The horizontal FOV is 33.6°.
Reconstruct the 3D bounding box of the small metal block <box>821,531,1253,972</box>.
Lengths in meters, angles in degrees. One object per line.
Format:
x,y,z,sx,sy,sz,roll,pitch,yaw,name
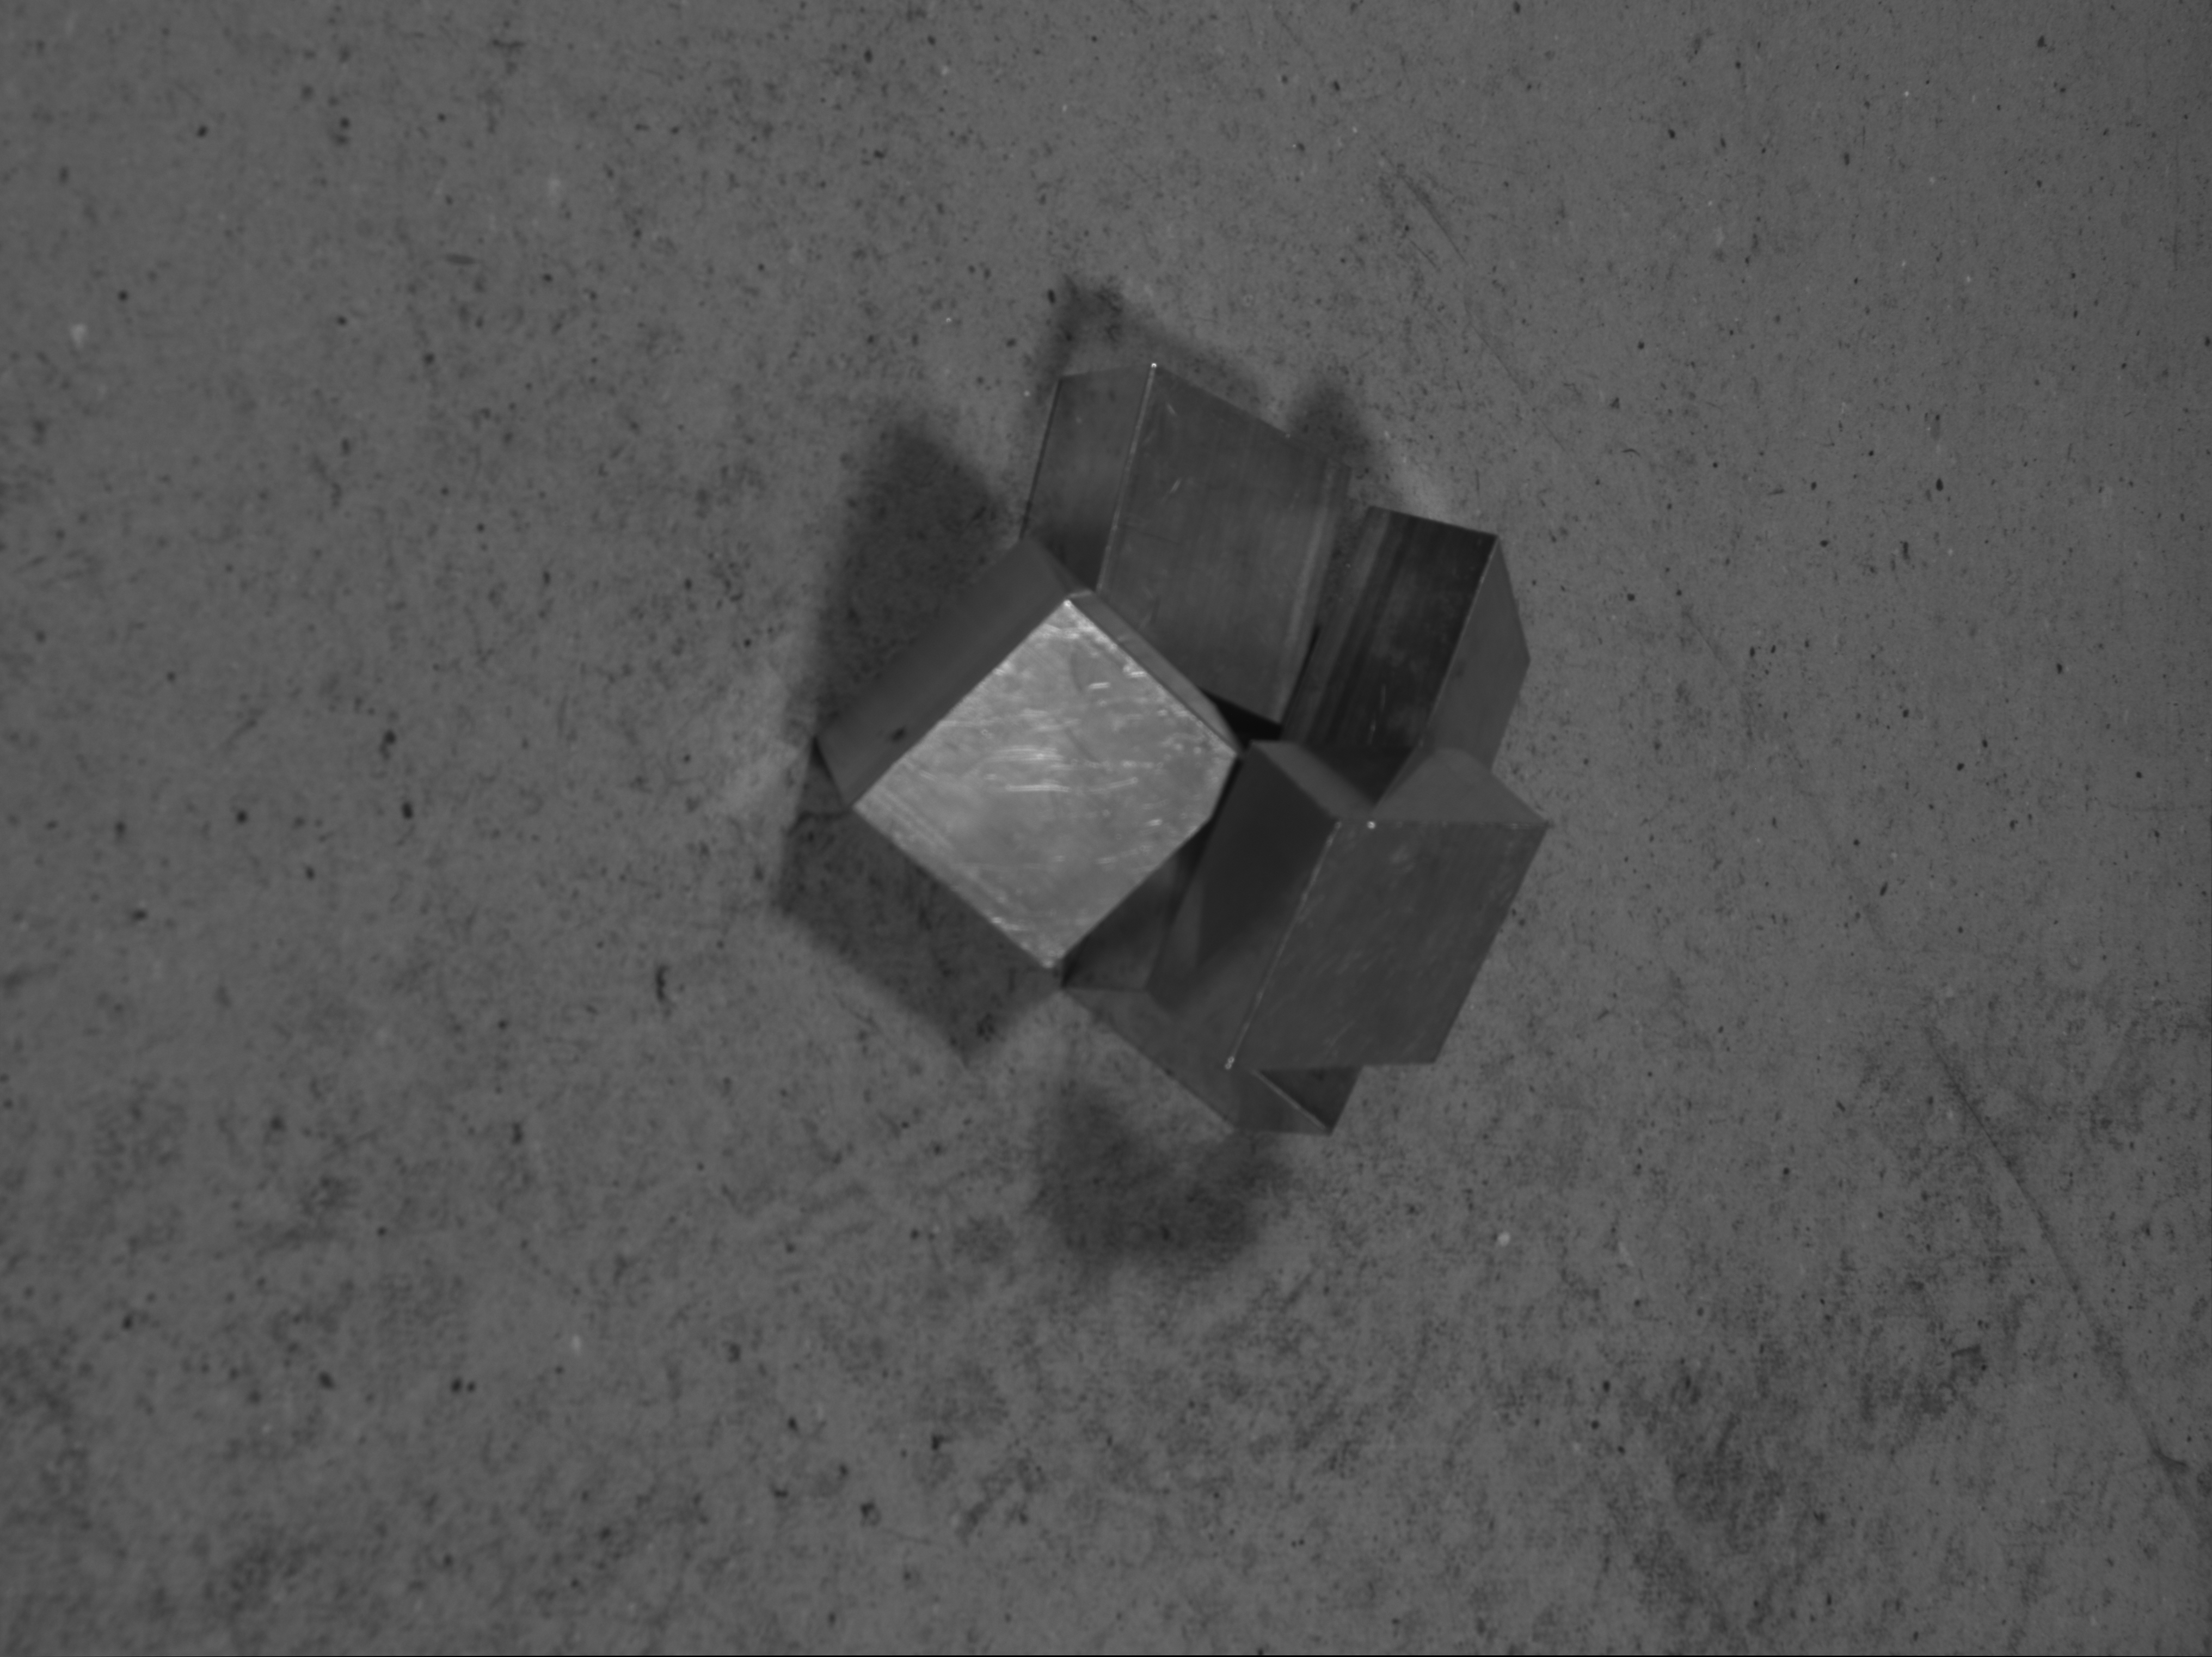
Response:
-0.010,-0.012,0.614,0.050,0.025,0.050,-43,124,9,small metal block

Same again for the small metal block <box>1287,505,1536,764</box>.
0.056,-0.023,0.670,0.050,0.025,0.050,61,48,-63,small metal block

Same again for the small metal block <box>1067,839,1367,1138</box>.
0.028,0.021,0.661,0.050,0.025,0.050,40,66,-32,small metal block

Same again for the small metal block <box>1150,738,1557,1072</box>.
0.042,0.013,0.625,0.050,0.025,0.050,1,122,-40,small metal block

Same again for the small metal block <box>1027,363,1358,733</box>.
0.013,-0.049,0.649,0.050,0.025,0.050,22,76,-38,small metal block
